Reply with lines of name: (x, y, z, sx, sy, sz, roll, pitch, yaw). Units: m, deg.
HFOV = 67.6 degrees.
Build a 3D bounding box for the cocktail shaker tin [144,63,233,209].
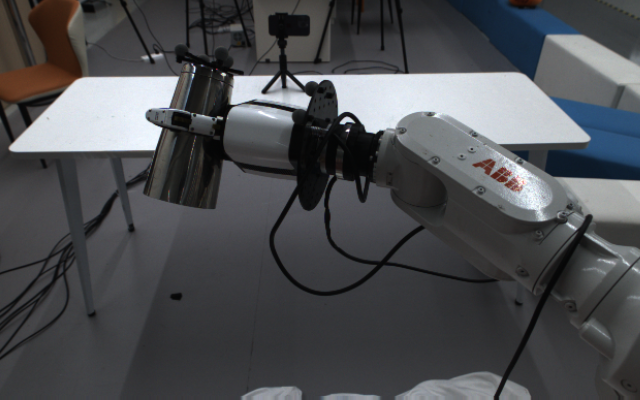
cocktail shaker tin: (-0.162, -0.081, 0.621, 0.093, 0.170, 0.093, 13, 2, 0)
